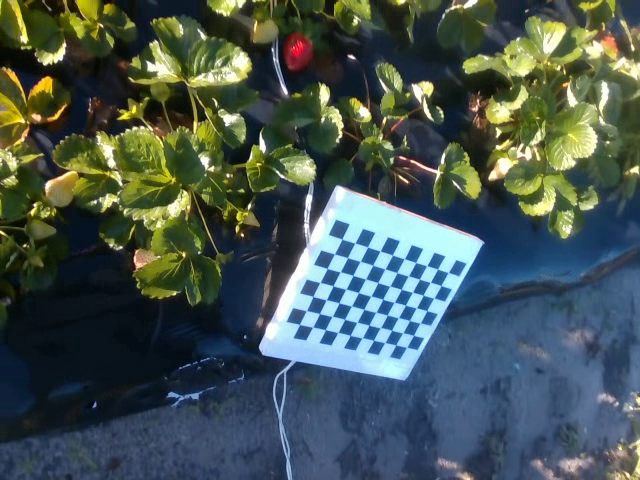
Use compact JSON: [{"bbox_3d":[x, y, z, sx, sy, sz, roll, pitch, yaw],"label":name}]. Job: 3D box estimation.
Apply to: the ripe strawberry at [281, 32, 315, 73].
[{"bbox_3d":[-0.030,-0.292,0.989,0.040,0.080,0.063,-7,-42,34],"label":"ripe strawberry"}]
